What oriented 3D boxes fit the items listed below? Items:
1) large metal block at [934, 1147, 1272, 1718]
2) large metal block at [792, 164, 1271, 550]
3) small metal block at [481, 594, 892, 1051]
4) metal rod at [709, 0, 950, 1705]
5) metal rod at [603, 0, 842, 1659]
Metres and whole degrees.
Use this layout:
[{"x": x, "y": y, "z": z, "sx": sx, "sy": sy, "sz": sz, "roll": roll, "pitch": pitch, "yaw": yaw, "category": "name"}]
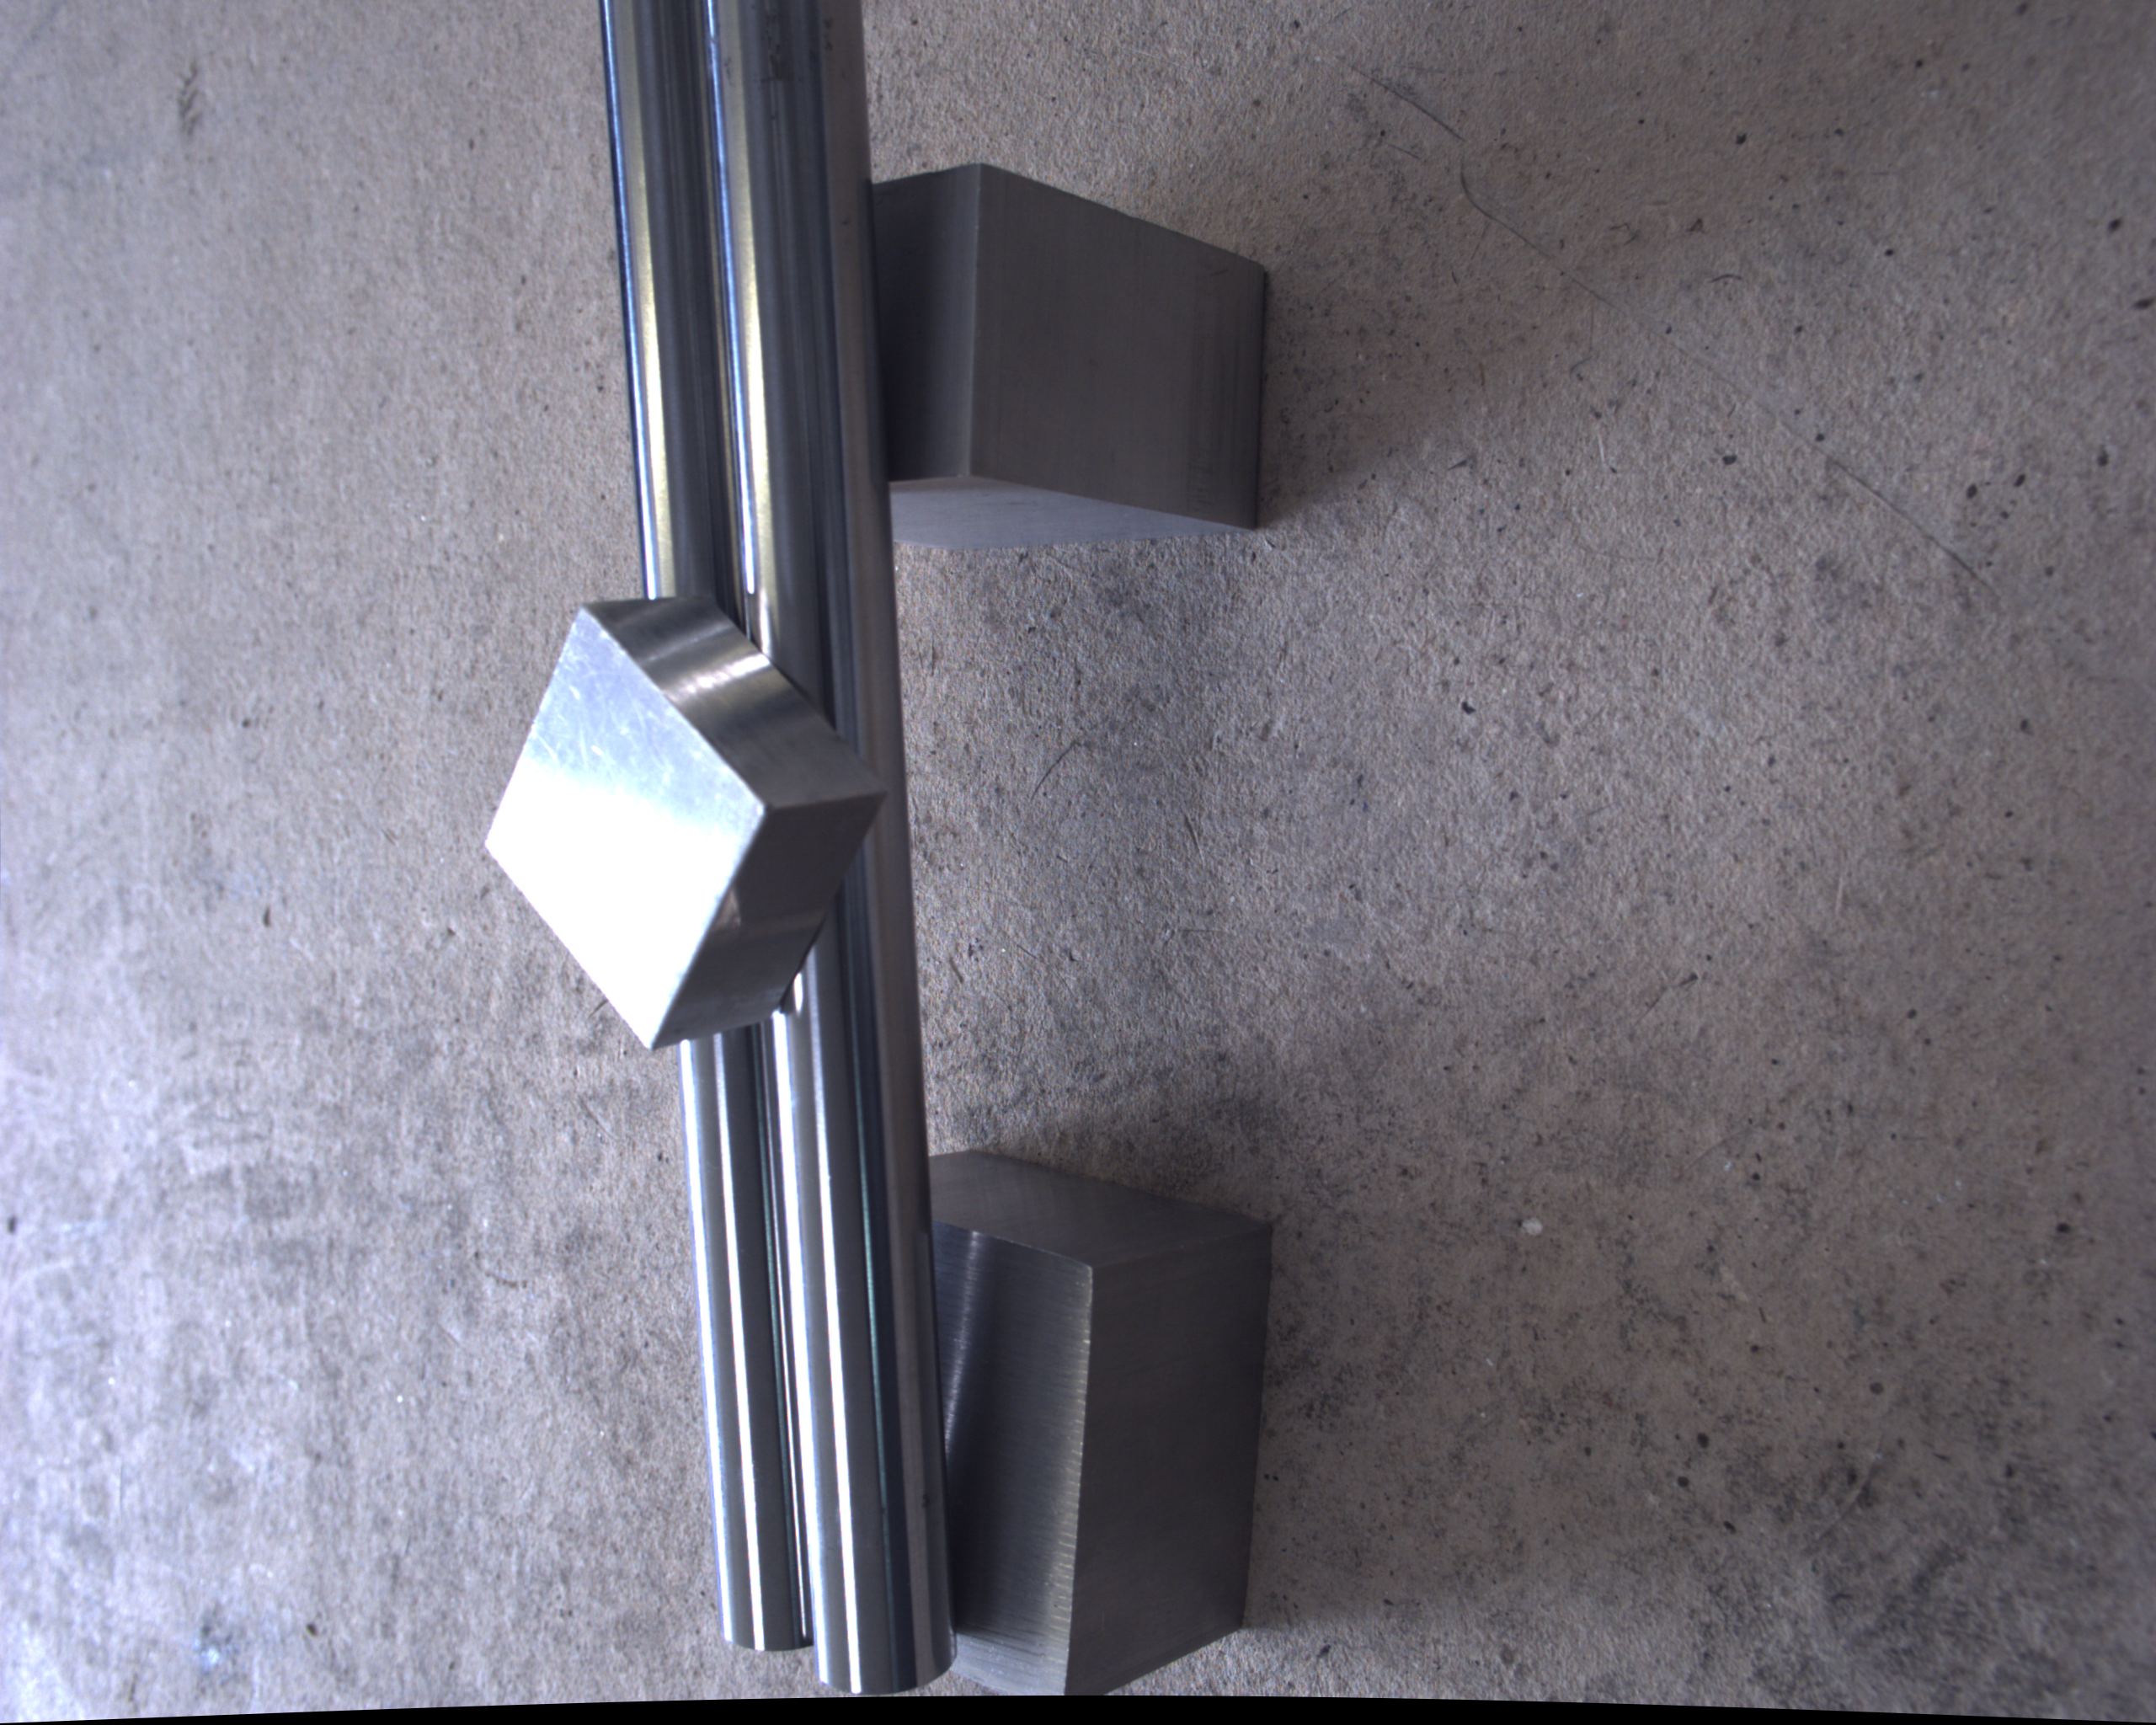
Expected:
[{"x": -0.013, "y": 0.103, "z": 0.400, "sx": 0.080, "sy": 0.050, "sz": 0.079, "roll": 6, "pitch": 94, "yaw": 39, "category": "large metal block"}, {"x": -0.021, "y": -0.089, "z": 0.389, "sx": 0.080, "sy": 0.081, "sz": 0.050, "roll": 5, "pitch": 93, "yaw": 40, "category": "large metal block"}, {"x": -0.063, "y": -0.007, "z": 0.331, "sx": 0.050, "sy": 0.025, "sz": 0.050, "roll": 46, "pitch": 123, "yaw": 24, "category": "small metal block"}, {"x": -0.040, "y": -0.007, "z": 0.345, "sx": 0.025, "sy": 0.025, "sz": 0.298, "roll": 4, "pitch": 100, "yaw": 40, "category": "metal rod"}, {"x": -0.060, "y": -0.009, "z": 0.361, "sx": 0.025, "sy": 0.025, "sz": 0.298, "roll": 4, "pitch": 100, "yaw": 40, "category": "metal rod"}]
